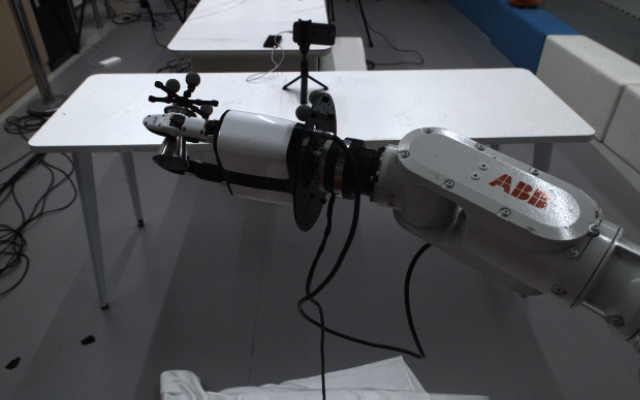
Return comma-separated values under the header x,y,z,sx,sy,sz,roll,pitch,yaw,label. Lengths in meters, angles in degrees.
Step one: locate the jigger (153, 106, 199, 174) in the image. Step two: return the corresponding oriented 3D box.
x,y,z,sx,sy,sz,roll,pitch,yaw,label
-0.178,-0.076,0.596,0.043,0.043,0.071,5,71,3,jigger
